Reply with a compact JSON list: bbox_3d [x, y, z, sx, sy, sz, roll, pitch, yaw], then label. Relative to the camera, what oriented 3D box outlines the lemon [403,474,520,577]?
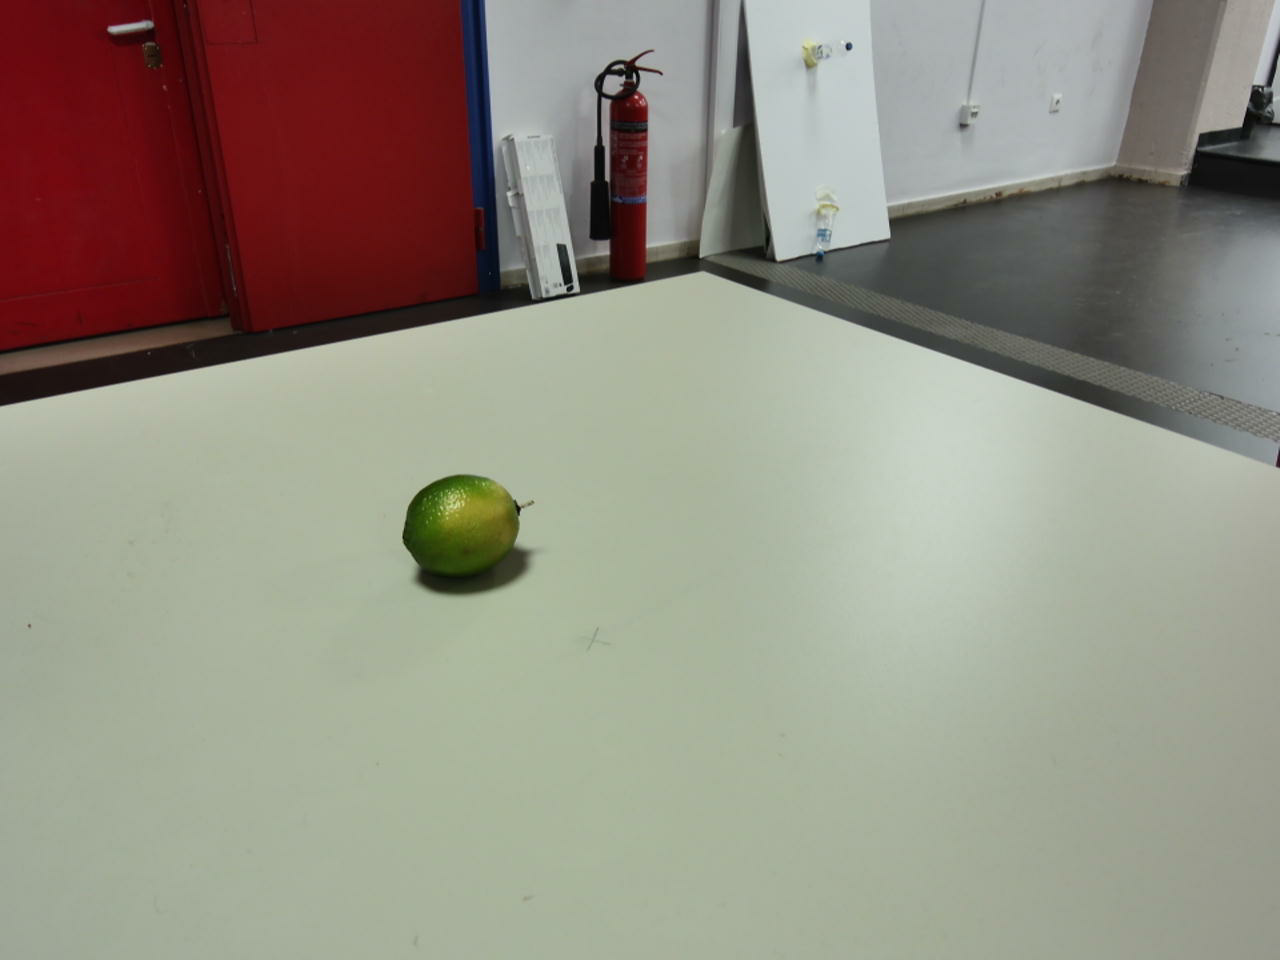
[{"bbox_3d":[-0.090,0.023,0.503,0.055,0.050,0.054,6,25,11],"label":"lemon"}]
